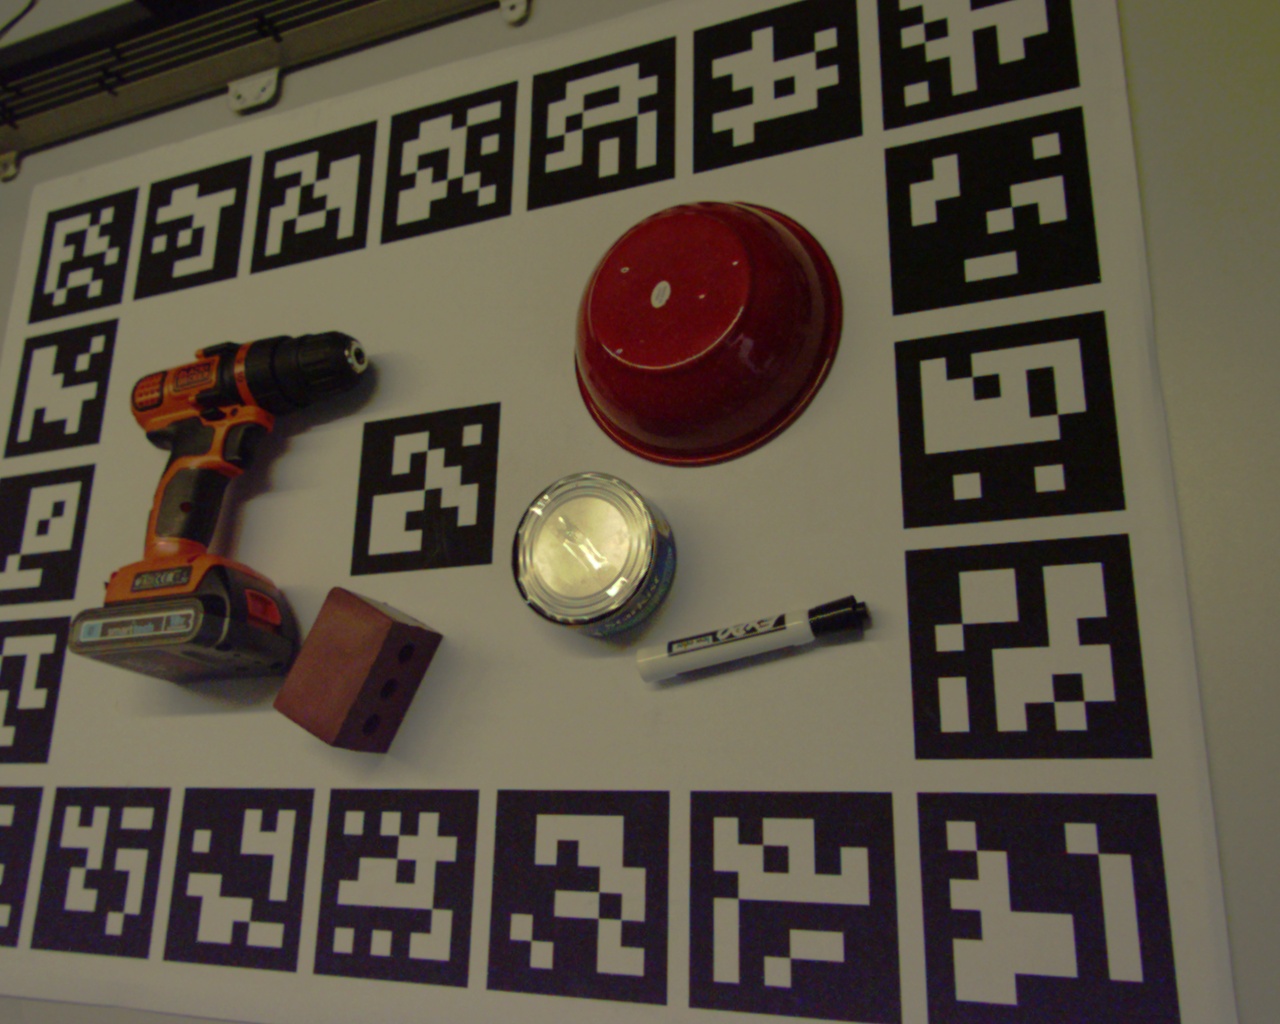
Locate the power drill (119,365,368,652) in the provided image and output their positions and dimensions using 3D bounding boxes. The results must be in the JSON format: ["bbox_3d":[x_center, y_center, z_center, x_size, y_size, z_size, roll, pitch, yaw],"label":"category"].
[{"bbox_3d":[-0.269,-0.005,0.761,0.186,0.057,0.187,-7,70,19],"label":"power drill"}]

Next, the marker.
[{"bbox_3d":[0.054,0.063,0.607,0.122,0.019,0.020,-16,71,20],"label":"marker"}]

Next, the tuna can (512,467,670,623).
[{"bbox_3d":[-0.027,0.020,0.649,0.086,0.033,0.086,-6,73,21],"label":"tuna can"}]

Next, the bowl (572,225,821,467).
[{"bbox_3d":[0.020,-0.110,0.665,0.163,0.054,0.162,-12,64,24],"label":"bowl"}]

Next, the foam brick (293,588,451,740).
[{"bbox_3d":[-0.162,0.093,0.688,0.052,0.052,0.078,20,86,26],"label":"foam brick"}]
